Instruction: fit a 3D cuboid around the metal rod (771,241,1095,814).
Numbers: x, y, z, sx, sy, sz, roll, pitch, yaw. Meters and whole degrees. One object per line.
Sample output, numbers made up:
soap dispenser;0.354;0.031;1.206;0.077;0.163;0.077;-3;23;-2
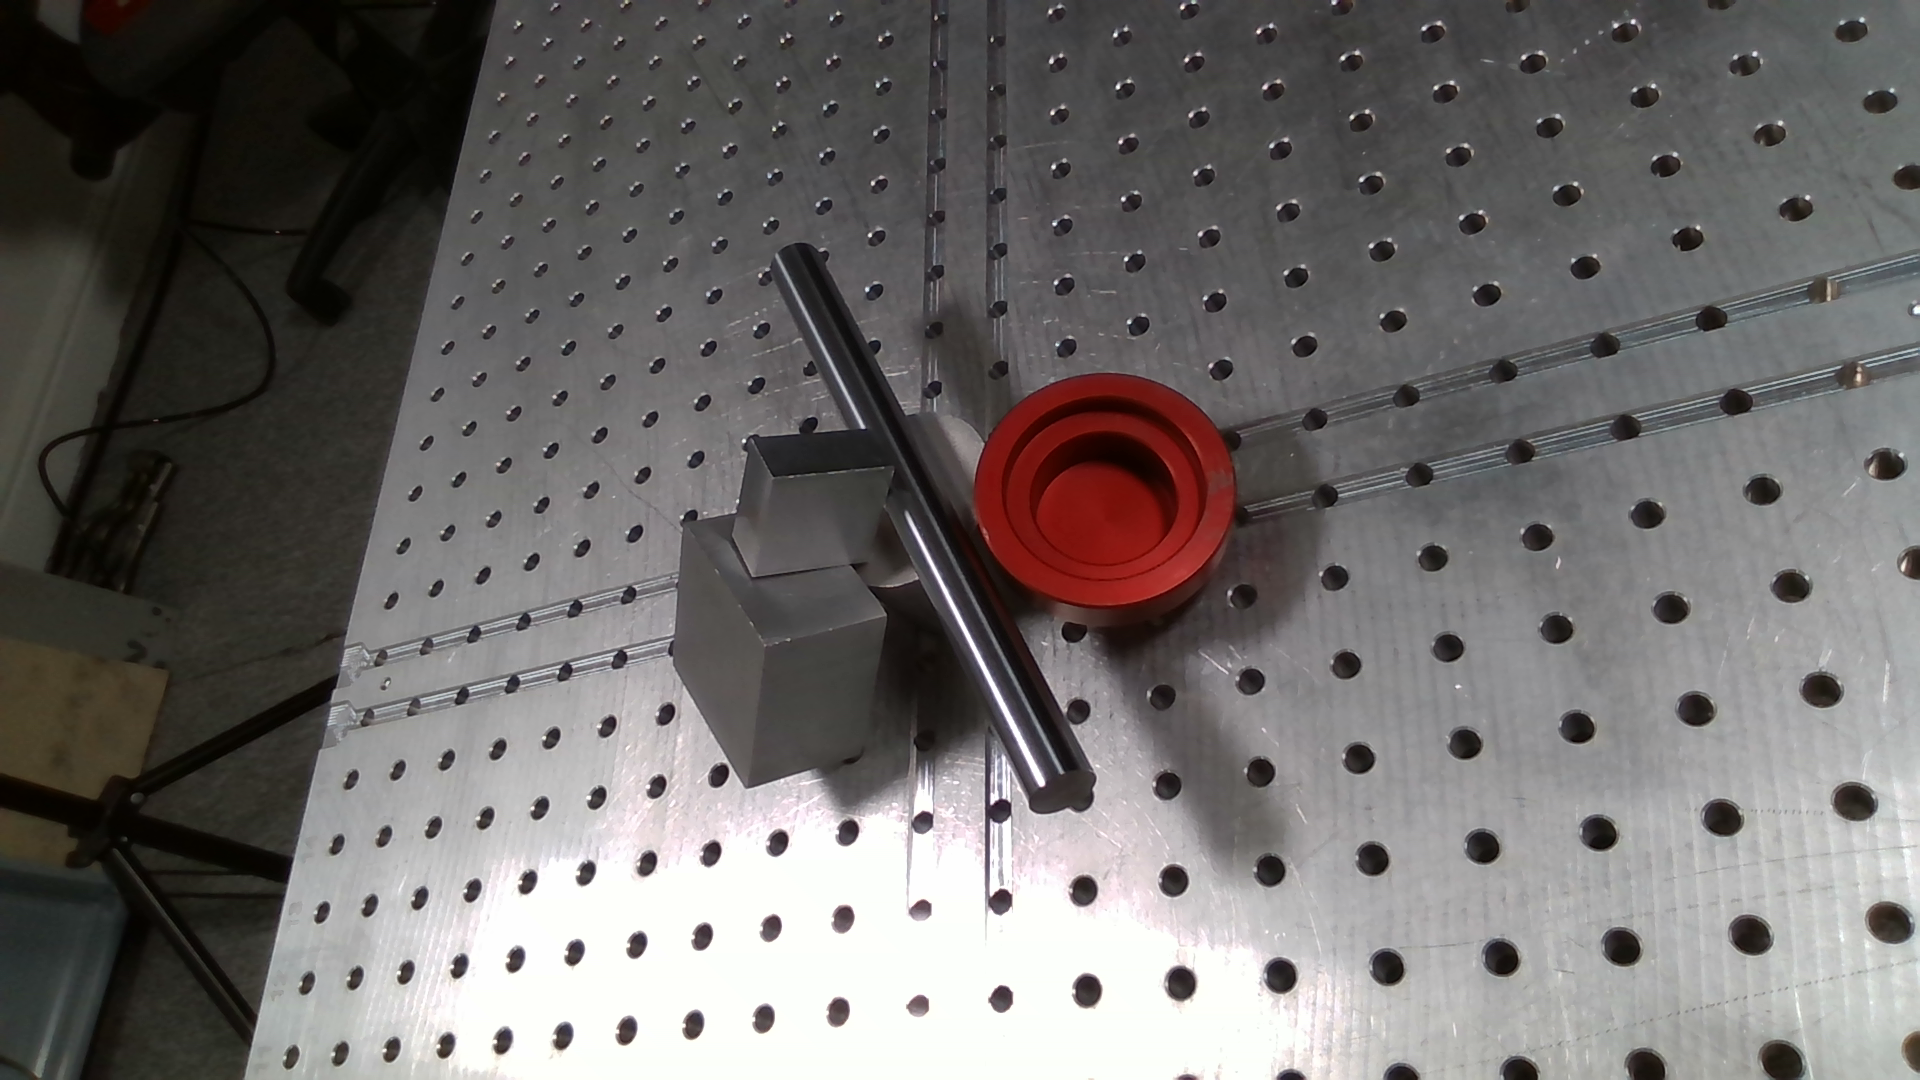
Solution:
metal rod;-0.021;-0.022;0.548;0.025;0.025;0.299;-36;52;11

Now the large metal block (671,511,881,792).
large metal block;-0.079;0.042;0.569;0.080;0.050;0.080;49;140;39

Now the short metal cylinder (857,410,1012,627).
short metal cylinder;-0.011;-0.008;0.583;0.080;0.050;0.080;-14;59;25

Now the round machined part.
round machined part;0.056;-0.013;0.535;0.098;0.042;0.098;-2;67;6

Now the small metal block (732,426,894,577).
small metal block;-0.059;-0.015;0.538;0.025;0.050;0.050;57;142;38
